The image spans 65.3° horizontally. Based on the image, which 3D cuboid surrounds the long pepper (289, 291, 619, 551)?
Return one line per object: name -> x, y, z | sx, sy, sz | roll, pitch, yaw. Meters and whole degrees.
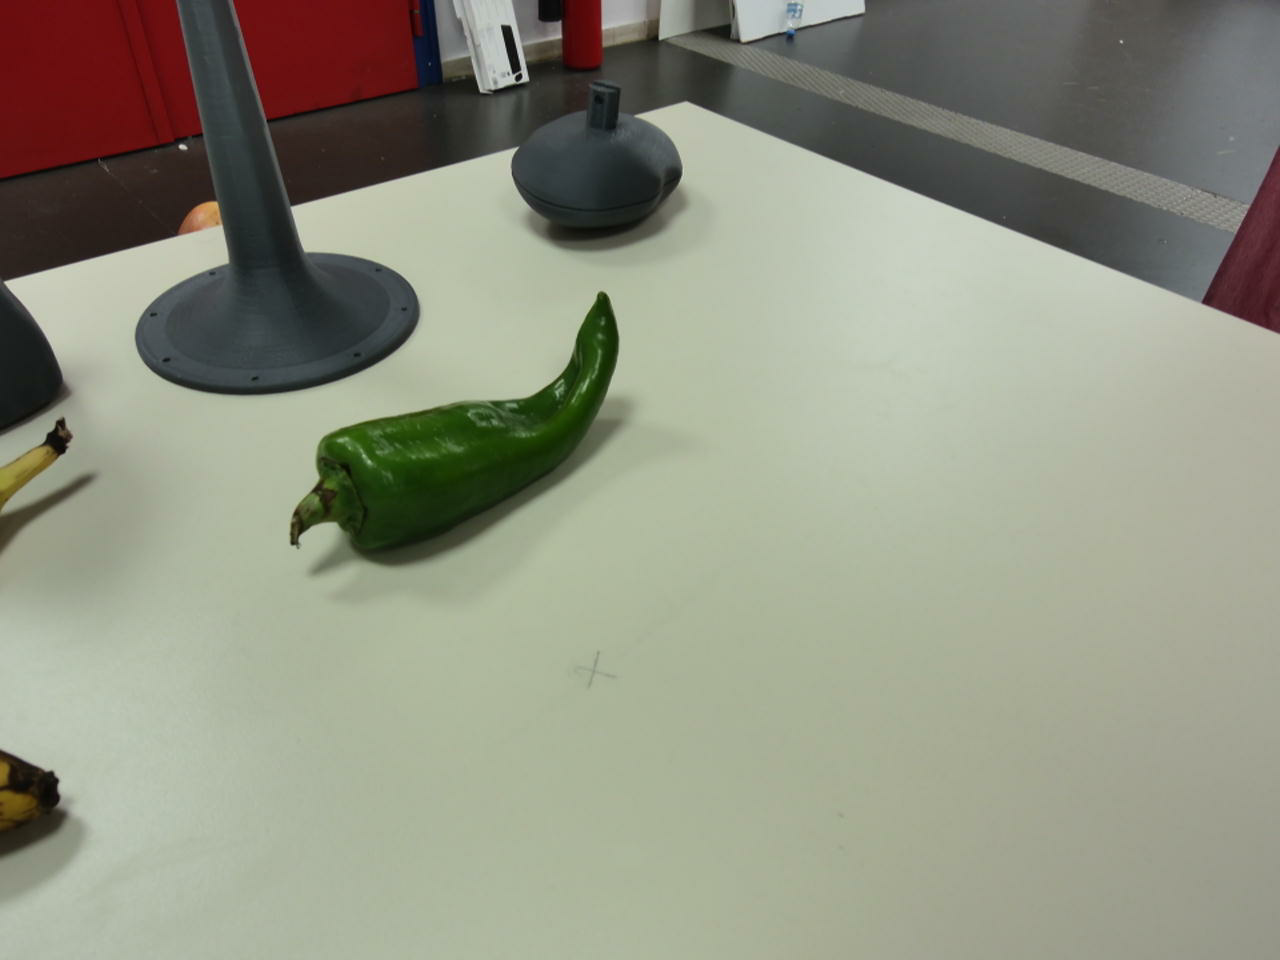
long pepper -> -0.071, -0.023, 0.426 | 0.175, 0.065, 0.058 | -28, 45, -33
